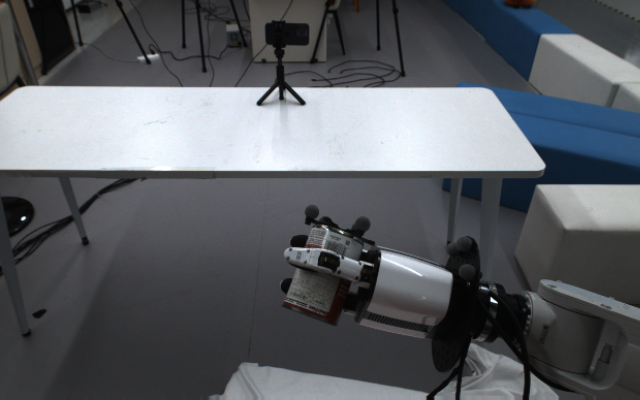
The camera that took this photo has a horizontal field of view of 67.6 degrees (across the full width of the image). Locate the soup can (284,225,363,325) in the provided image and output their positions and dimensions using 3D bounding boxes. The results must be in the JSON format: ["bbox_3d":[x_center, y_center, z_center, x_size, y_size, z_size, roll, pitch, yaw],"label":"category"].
[{"bbox_3d":[0.007,0.087,0.566,0.067,0.067,0.101,15,75,18],"label":"soup can"}]
